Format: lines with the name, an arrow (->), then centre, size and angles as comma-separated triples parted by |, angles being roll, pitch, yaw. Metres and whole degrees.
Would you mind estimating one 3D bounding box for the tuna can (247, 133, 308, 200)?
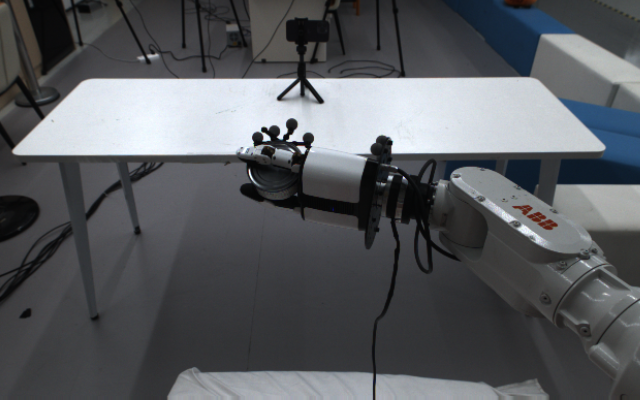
tuna can -> -0.064, -0.043, 0.716 | 0.085, 0.034, 0.085 | -3, 61, 6
